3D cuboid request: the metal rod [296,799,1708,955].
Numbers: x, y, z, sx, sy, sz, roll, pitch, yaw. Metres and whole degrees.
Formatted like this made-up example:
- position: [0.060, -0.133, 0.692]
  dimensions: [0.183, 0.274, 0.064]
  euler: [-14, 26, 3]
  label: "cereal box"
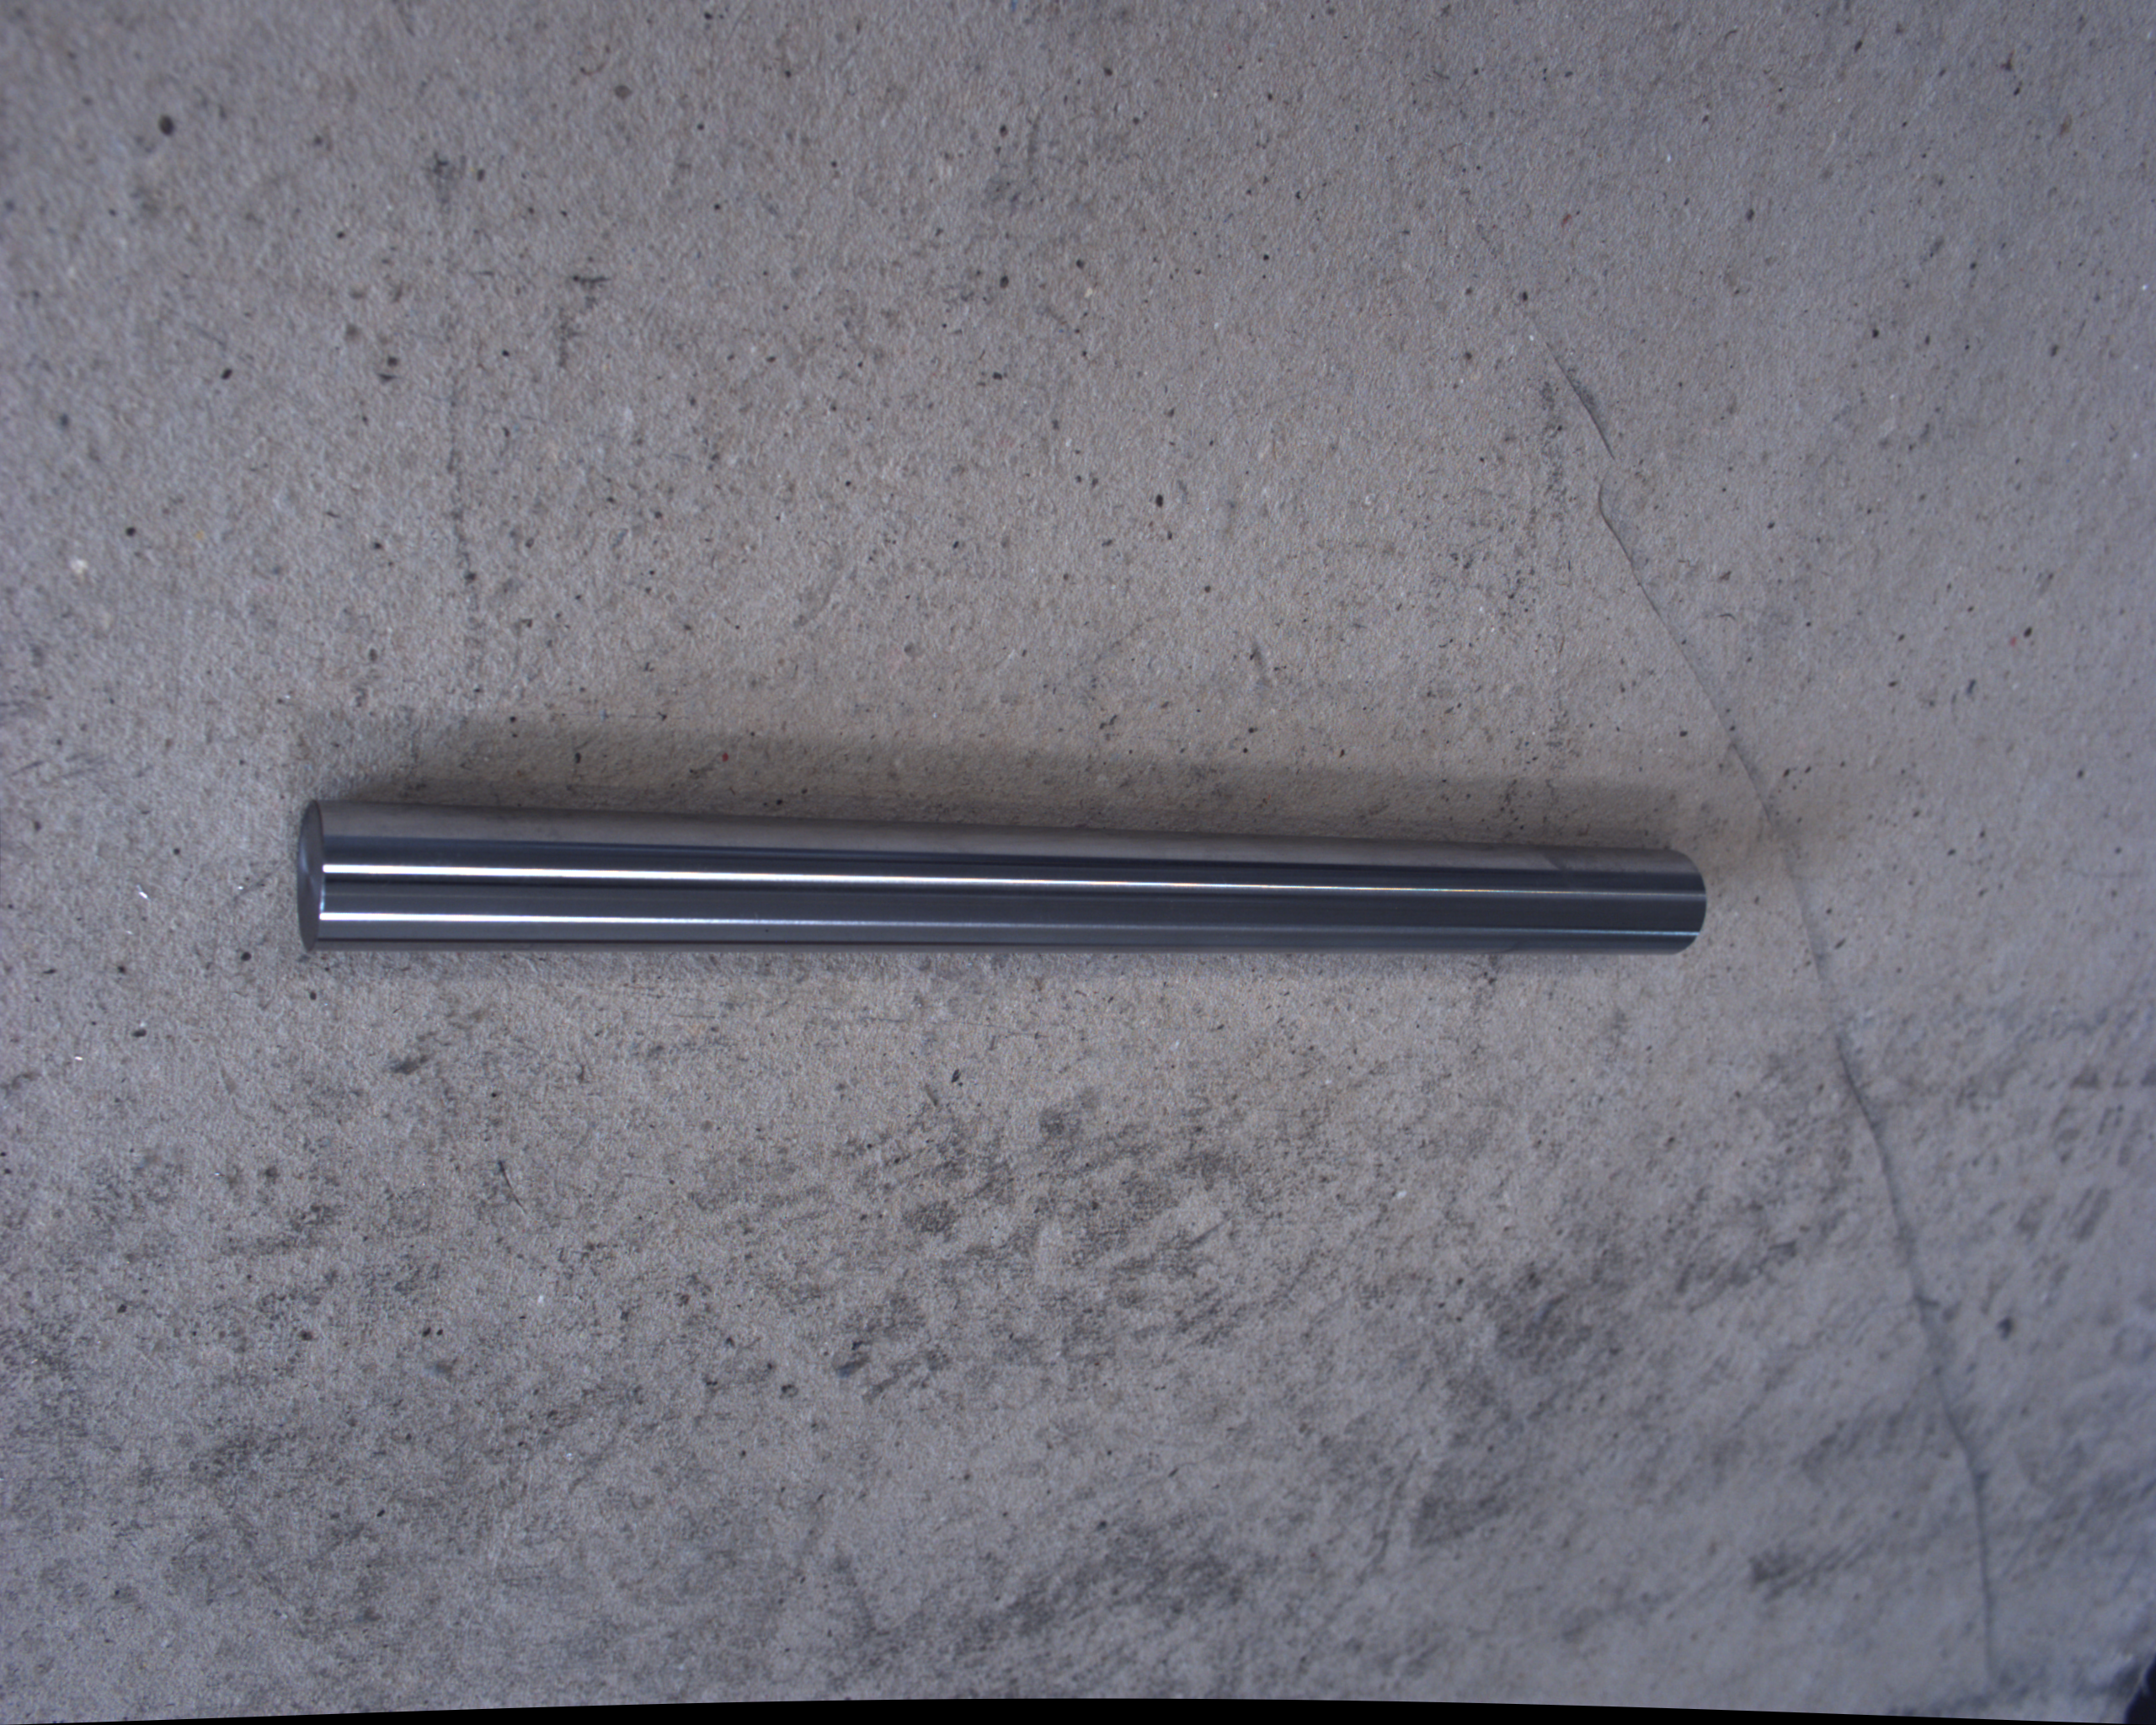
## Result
- position: [0.006, 0.006, 0.414]
  dimensions: [0.302, 0.025, 0.025]
  euler: [2, 118, -29]
  label: "metal rod"
